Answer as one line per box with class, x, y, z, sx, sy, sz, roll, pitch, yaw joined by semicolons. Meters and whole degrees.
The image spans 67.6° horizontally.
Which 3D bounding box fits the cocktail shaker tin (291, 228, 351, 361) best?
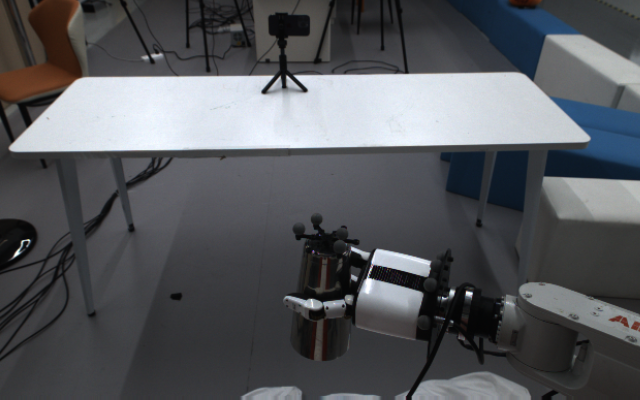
cocktail shaker tin;0.006;0.136;0.704;0.093;0.170;0.093;2;25;-1
